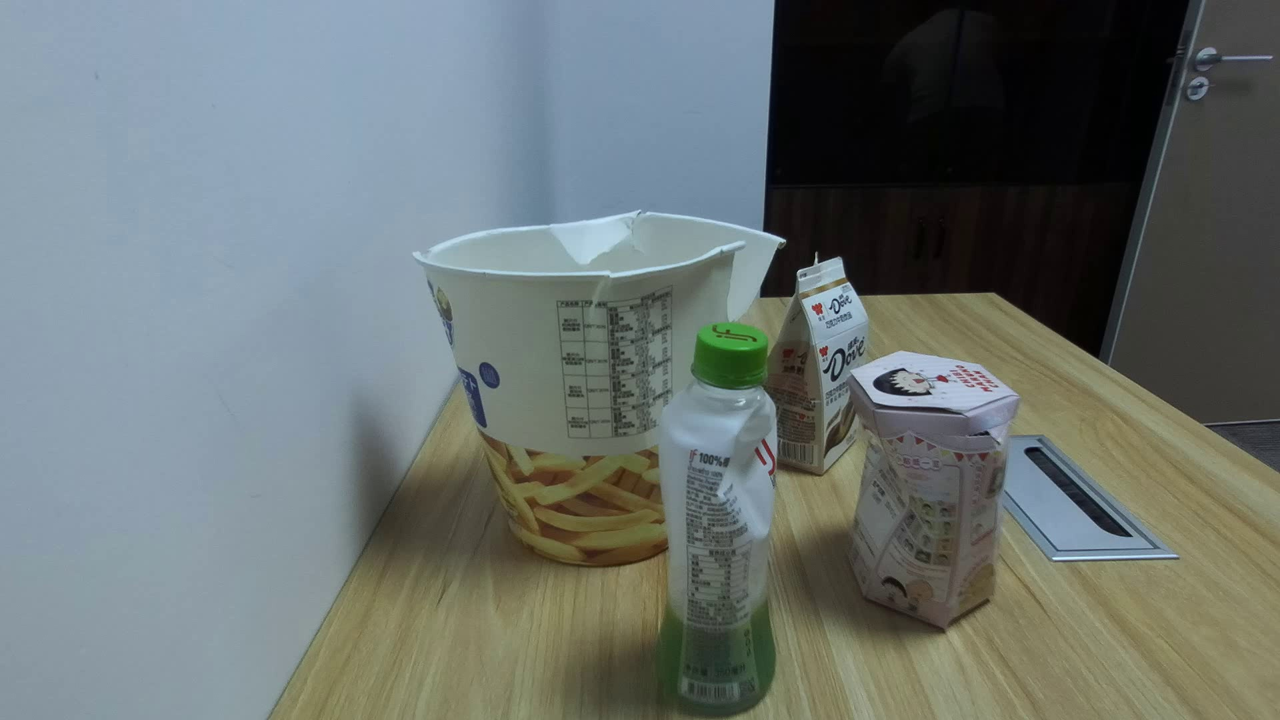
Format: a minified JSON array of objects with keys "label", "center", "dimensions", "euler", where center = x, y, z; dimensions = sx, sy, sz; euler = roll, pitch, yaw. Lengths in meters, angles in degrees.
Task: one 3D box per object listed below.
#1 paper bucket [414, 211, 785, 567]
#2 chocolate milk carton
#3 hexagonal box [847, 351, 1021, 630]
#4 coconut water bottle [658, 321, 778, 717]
[{"label":"paper bucket","center":[-0.020,0.013,0.476],"dimensions":[0.203,0.197,0.145],"euler":[-18,29,-33]},{"label":"chocolate milk carton","center":[0.131,0.000,0.556],"dimensions":[0.072,0.155,0.084],"euler":[15,28,35]},{"label":"hexagonal box","center":[0.163,0.073,0.410],"dimensions":[0.089,0.134,0.091],"euler":[13,27,38]},{"label":"coconut water bottle","center":[0.039,0.076,0.340],"dimensions":[0.069,0.187,0.069],"euler":[0,18,0]}]
